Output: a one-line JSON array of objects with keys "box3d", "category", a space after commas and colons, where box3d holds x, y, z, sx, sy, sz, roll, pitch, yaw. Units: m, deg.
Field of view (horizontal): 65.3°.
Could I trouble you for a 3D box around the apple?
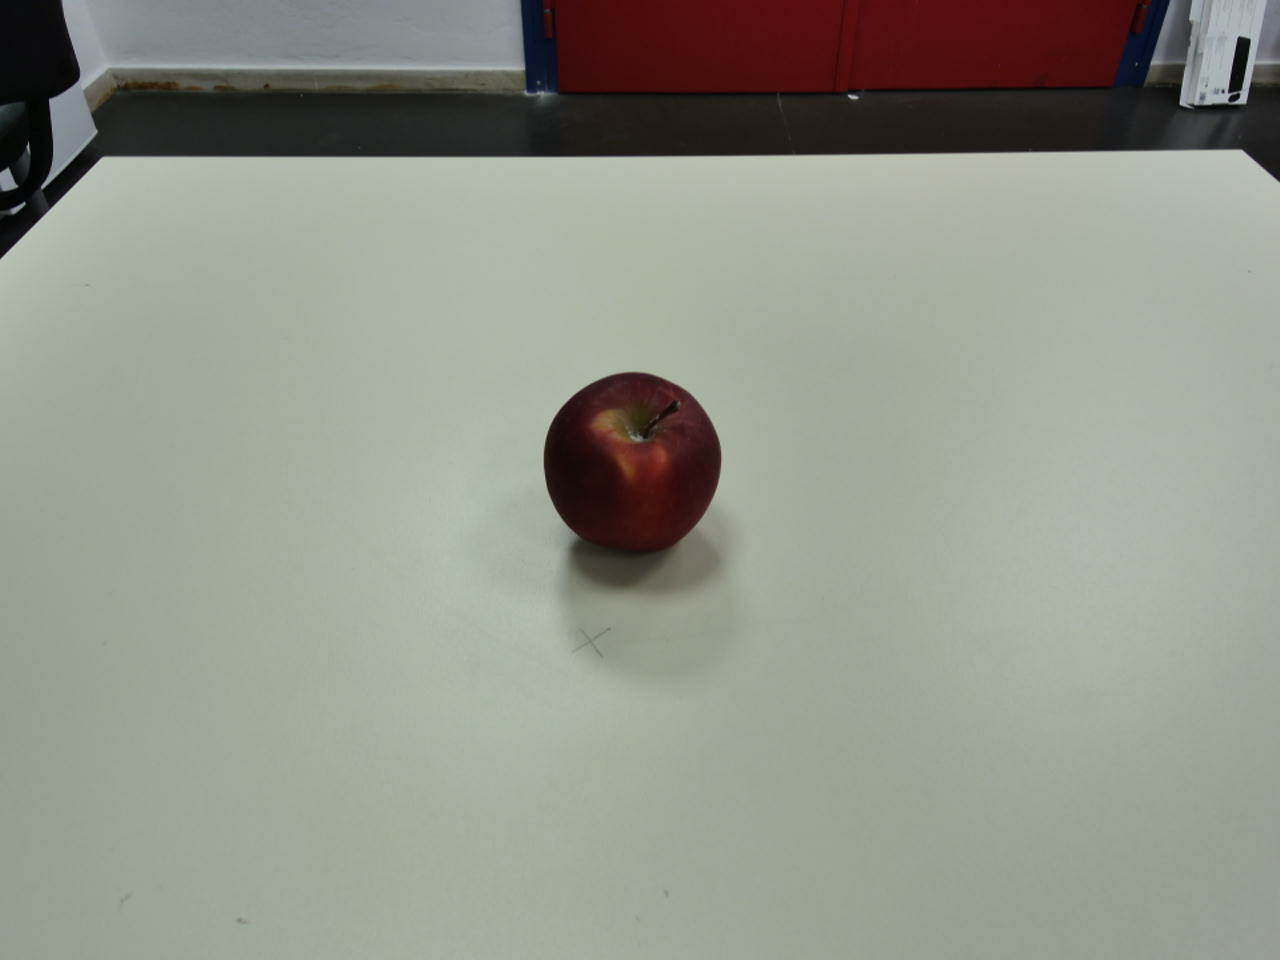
[{"box3d": [-0.003, -0.005, 0.388, 0.070, 0.072, 0.070, 1, 38, -1], "category": "apple"}]
